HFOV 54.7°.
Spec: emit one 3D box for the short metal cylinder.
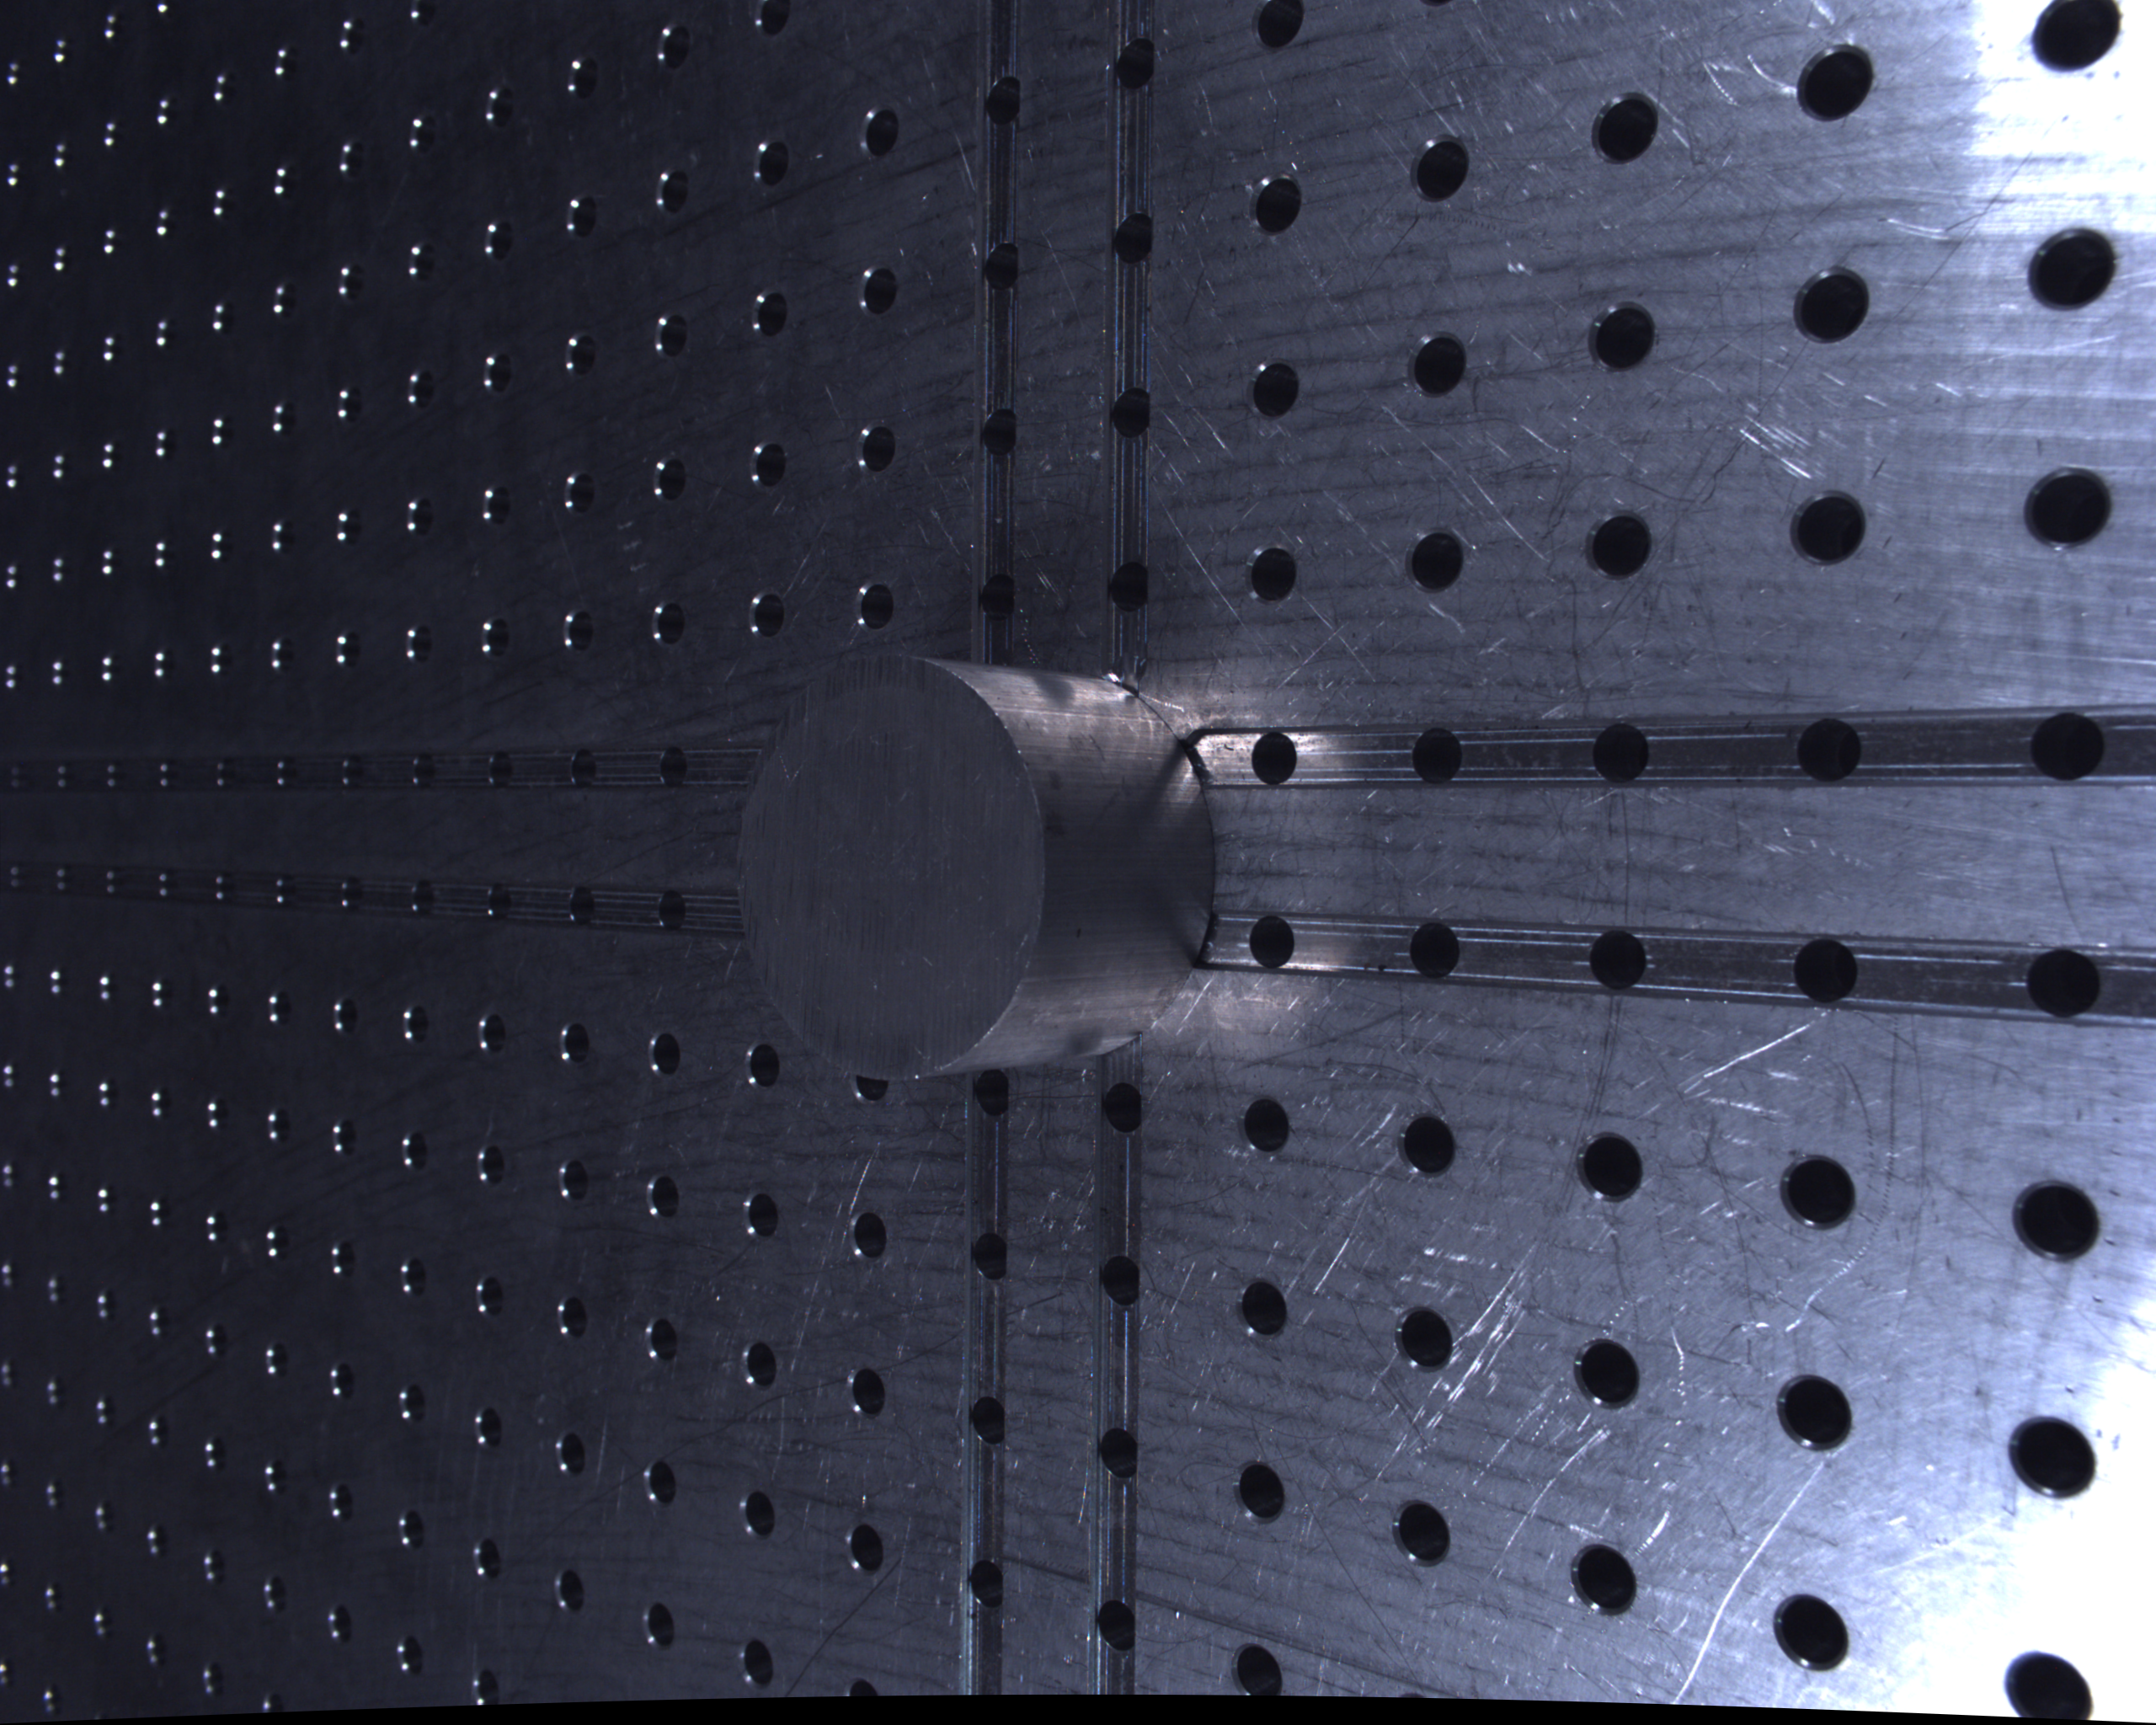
[{"bbox_3d":[-0.021,0.001,0.407,0.080,0.050,0.079,0,90,39],"label":"short metal cylinder"}]
